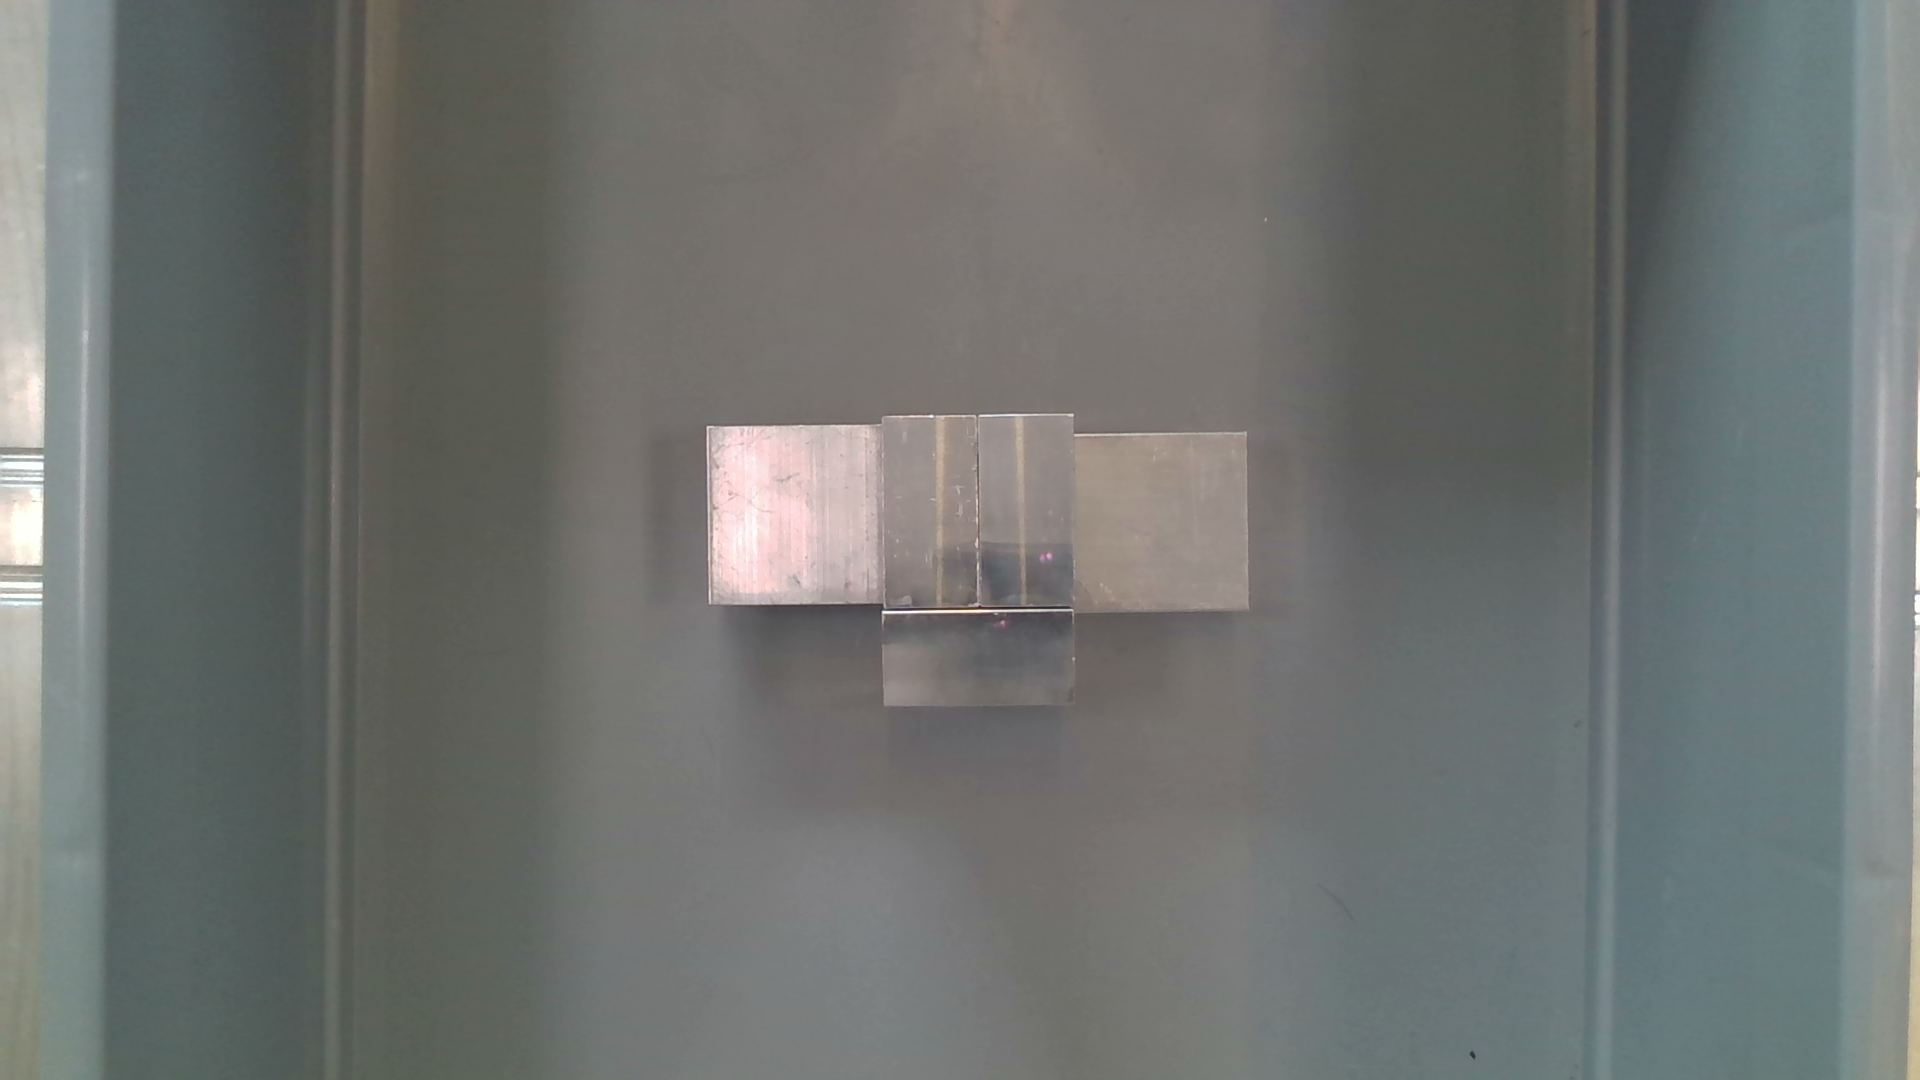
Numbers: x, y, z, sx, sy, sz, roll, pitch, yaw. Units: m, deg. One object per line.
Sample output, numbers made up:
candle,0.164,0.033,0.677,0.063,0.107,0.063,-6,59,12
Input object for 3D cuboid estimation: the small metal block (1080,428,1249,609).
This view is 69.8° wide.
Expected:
small metal block,0.055,-0.006,0.394,0.050,0.025,0.050,0,90,0

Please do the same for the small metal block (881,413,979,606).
small metal block,-0.008,-0.008,0.382,0.025,0.050,0.050,0,90,0

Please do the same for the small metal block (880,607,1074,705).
small metal block,0.004,0.030,0.382,0.050,0.050,0.025,0,90,0

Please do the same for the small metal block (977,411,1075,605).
small metal block,0.017,-0.008,0.382,0.025,0.050,0.050,0,90,0

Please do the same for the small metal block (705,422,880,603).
small metal block,-0.046,-0.008,0.394,0.050,0.025,0.050,0,90,0
